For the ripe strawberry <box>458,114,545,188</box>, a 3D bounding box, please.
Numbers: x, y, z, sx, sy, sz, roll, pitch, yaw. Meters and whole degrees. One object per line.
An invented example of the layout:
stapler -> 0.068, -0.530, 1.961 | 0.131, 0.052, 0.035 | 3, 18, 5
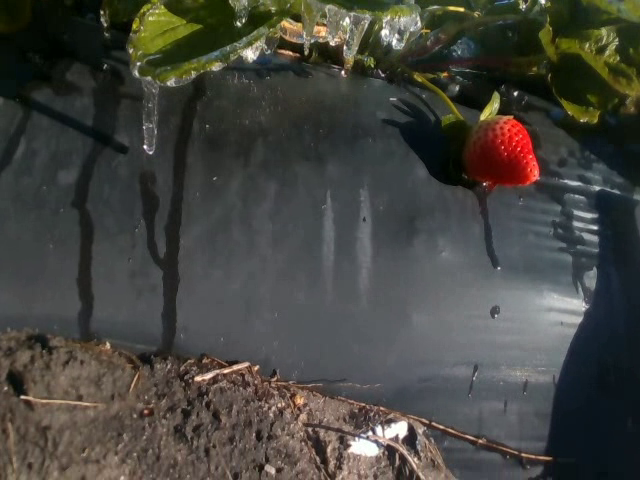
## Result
ripe strawberry -> 0.095, -0.044, 0.316 | 0.039, 0.041, 0.053 | -6, 40, -17
